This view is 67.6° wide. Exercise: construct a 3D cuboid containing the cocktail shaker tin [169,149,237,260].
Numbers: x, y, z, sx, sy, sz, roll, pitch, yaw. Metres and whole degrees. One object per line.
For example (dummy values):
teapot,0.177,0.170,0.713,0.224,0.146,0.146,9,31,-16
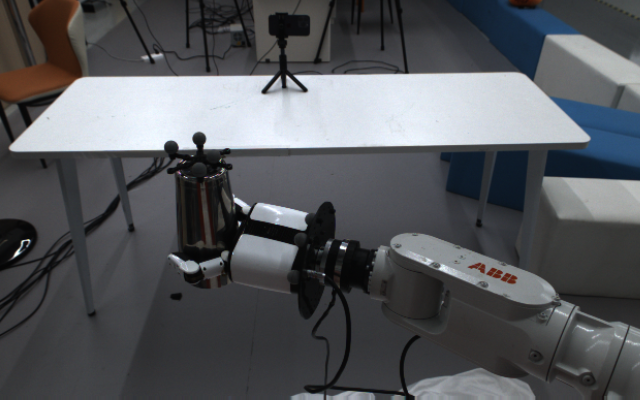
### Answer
cocktail shaker tin,-0.153,0.027,0.659,0.093,0.170,0.093,2,35,-1
